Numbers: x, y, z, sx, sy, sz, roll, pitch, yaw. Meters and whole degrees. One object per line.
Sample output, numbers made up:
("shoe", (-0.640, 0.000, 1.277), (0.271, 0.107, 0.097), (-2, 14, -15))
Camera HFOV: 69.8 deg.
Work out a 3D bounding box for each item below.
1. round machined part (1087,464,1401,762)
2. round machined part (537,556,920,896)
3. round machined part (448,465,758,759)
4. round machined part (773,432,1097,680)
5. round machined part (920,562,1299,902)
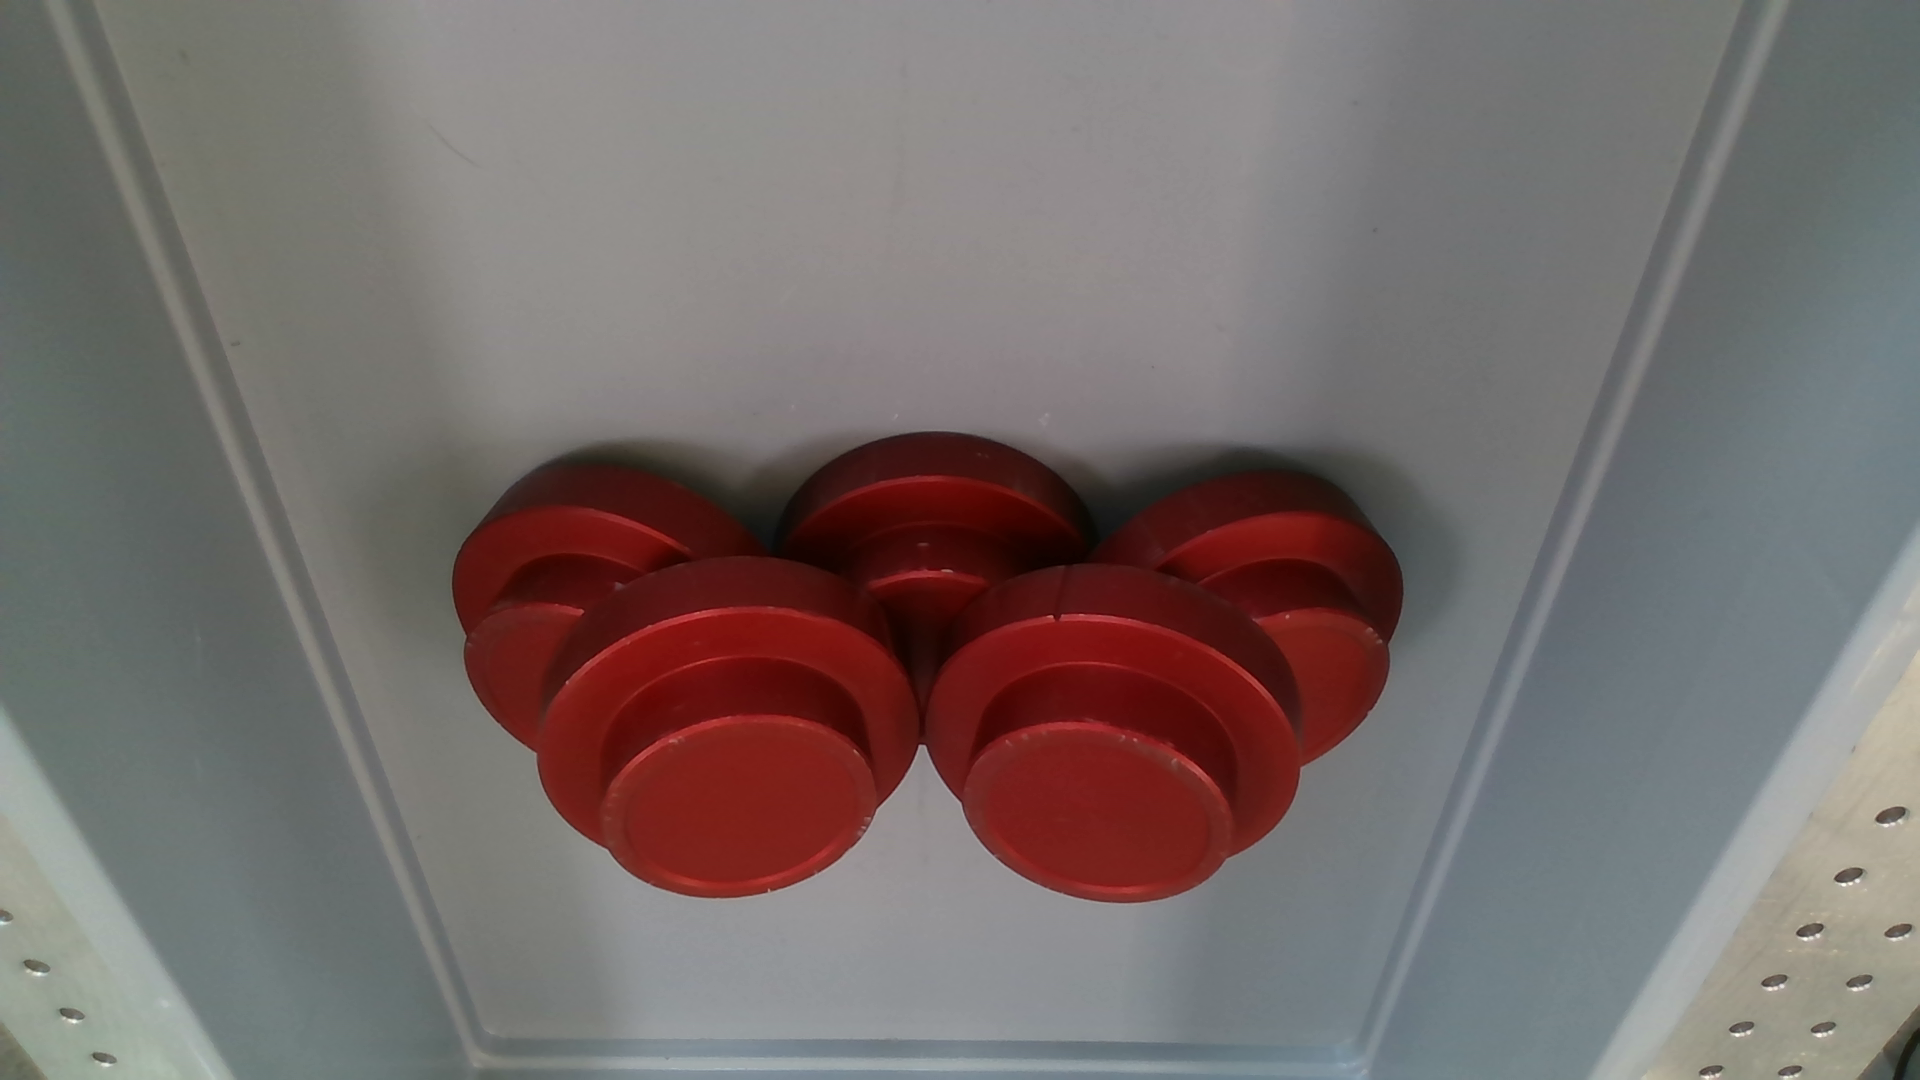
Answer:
("round machined part", (0.080, 0.030, 0.388), (0.098, 0.042, 0.098), (-11, 132, -12))
("round machined part", (-0.058, 0.054, 0.356), (0.098, 0.042, 0.098), (-7, 131, -8))
("round machined part", (-0.098, 0.031, 0.385), (0.098, 0.042, 0.098), (10, 131, 11))
("round machined part", (-0.006, 0.021, 0.394), (0.098, 0.042, 0.098), (-1, 130, -1))
("round machined part", (0.037, 0.056, 0.357), (0.098, 0.042, 0.098), (8, 131, 9))
